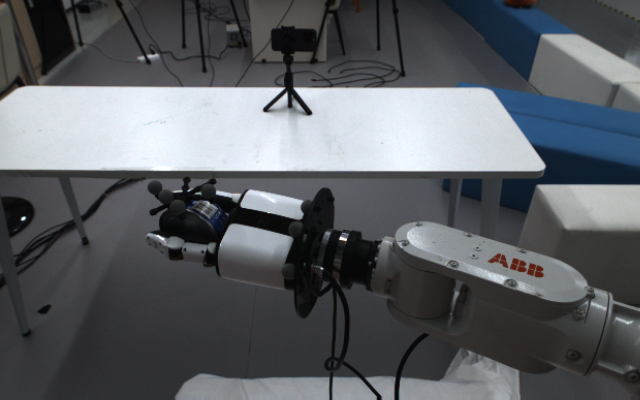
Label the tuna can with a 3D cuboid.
[{"bbox_3d":[-0.153,0.035,0.609,0.085,0.085,0.034,14,40,16],"label":"tuna can"}]
